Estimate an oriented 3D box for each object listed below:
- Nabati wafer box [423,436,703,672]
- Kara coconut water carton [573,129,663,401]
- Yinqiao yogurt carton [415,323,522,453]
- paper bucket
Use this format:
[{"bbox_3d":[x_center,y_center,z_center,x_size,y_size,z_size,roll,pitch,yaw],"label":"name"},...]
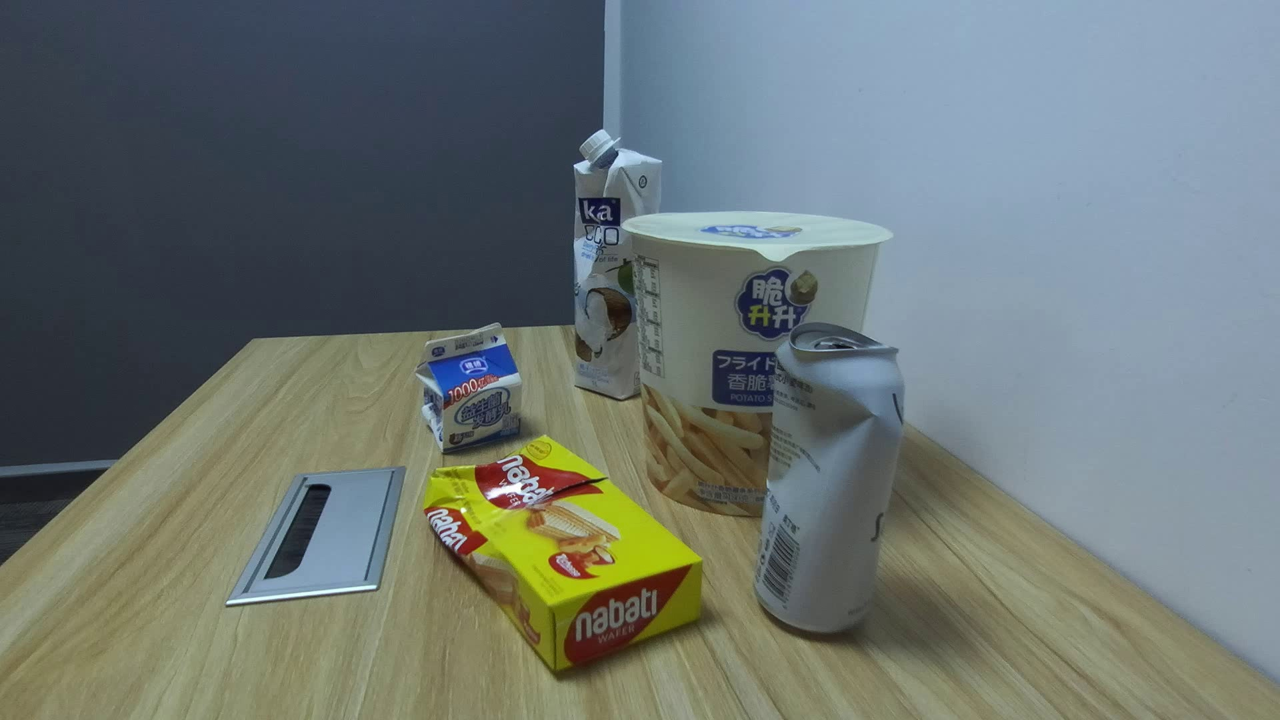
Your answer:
[{"bbox_3d":[-0.062,0.105,0.441,0.107,0.042,0.203,-9,20,-31],"label":"Nabati wafer box"},{"bbox_3d":[-0.025,-0.092,0.697,0.079,0.255,0.083,-15,25,-34],"label":"Kara coconut water carton"},{"bbox_3d":[-0.152,0.018,0.611,0.075,0.097,0.080,-14,30,-34],"label":"Yinqiao yogurt carton"},{"bbox_3d":[0.080,-0.004,0.533,0.198,0.194,0.198,1,19,0],"label":"paper bucket"}]
